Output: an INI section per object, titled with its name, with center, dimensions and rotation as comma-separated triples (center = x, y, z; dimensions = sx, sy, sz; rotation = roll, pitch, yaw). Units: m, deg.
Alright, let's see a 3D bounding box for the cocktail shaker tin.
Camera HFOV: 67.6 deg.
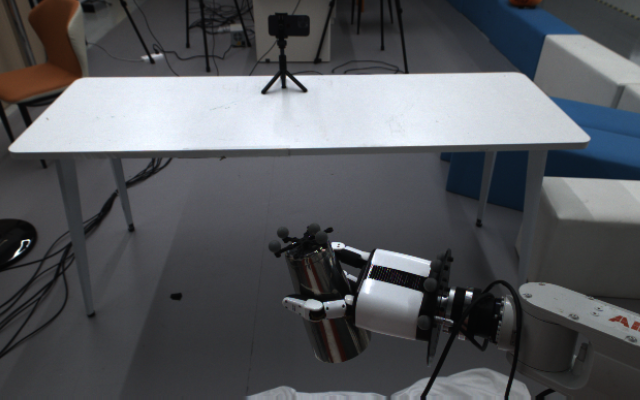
[cocktail shaker tin]
center = 0.007, 0.140, 0.702
dimensions = 0.093, 0.170, 0.093
rotation = -17, 20, 6
